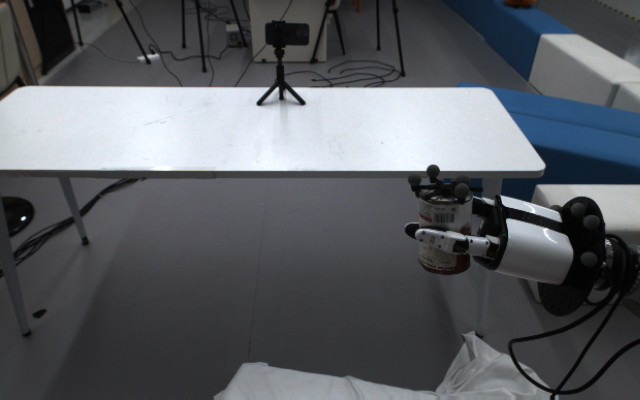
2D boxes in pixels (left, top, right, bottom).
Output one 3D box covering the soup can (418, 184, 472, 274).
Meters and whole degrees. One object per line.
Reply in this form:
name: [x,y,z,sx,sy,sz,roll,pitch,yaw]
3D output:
soup can: [0.165,0.036,0.632,0.067,0.101,0.067,-4,21,1]
